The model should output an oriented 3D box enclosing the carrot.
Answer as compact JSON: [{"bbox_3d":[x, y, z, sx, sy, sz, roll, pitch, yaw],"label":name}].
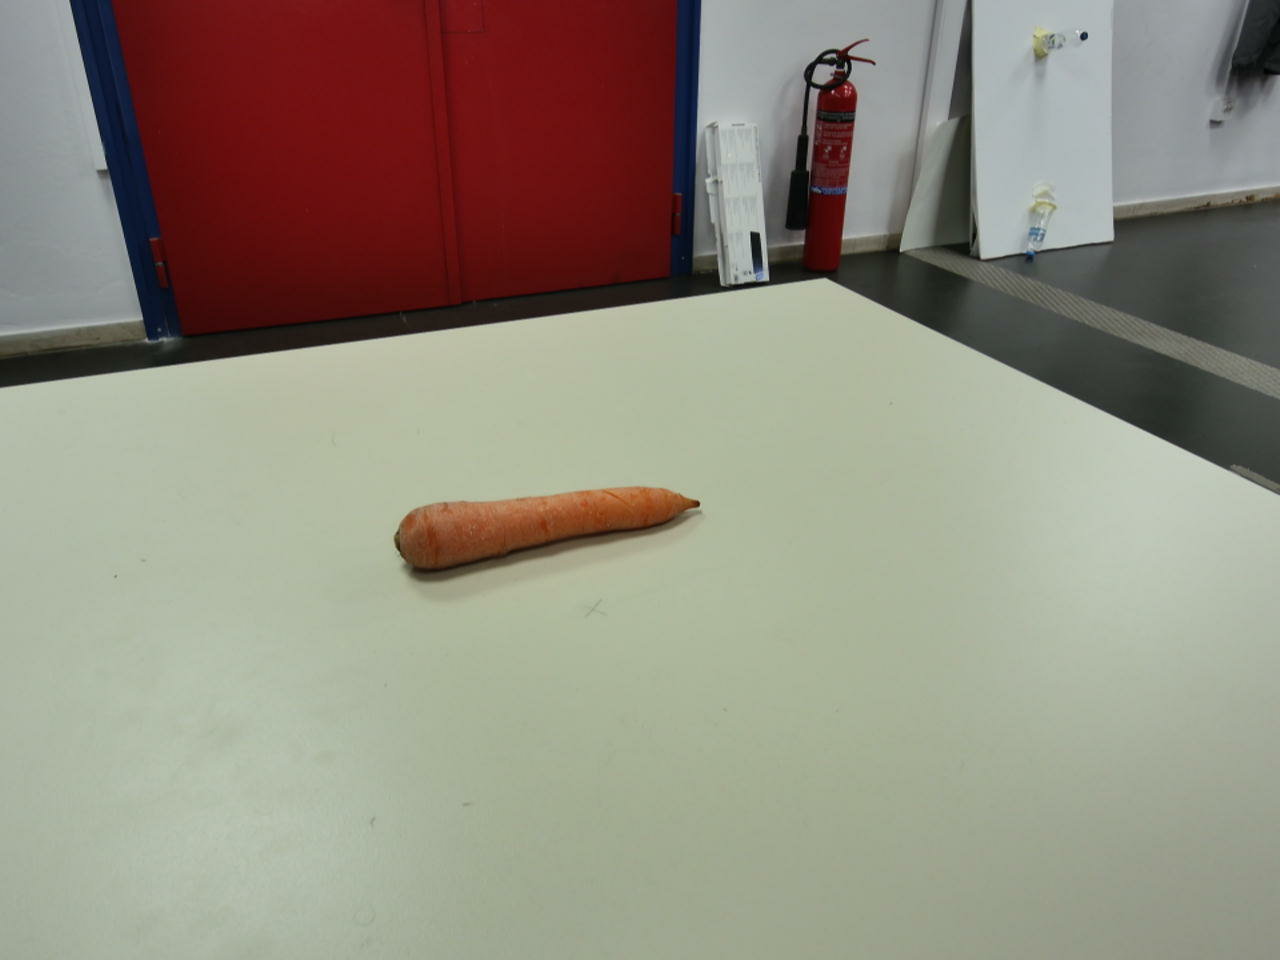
[{"bbox_3d":[-0.052,0.020,0.613,0.196,0.041,0.039,-11,29,-22],"label":"carrot"}]
